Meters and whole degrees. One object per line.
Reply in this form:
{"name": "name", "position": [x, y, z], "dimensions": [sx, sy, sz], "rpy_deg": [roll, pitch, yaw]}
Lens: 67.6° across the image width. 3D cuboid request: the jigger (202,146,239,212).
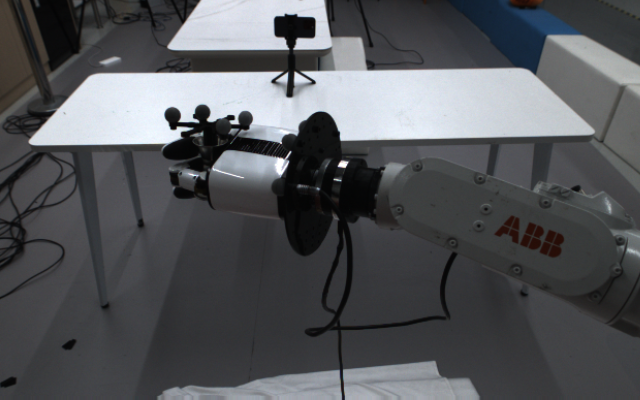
{"name": "jigger", "position": [-0.124, -0.039, 0.576], "dimensions": [0.043, 0.071, 0.043], "rpy_deg": [3, 25, -1]}
